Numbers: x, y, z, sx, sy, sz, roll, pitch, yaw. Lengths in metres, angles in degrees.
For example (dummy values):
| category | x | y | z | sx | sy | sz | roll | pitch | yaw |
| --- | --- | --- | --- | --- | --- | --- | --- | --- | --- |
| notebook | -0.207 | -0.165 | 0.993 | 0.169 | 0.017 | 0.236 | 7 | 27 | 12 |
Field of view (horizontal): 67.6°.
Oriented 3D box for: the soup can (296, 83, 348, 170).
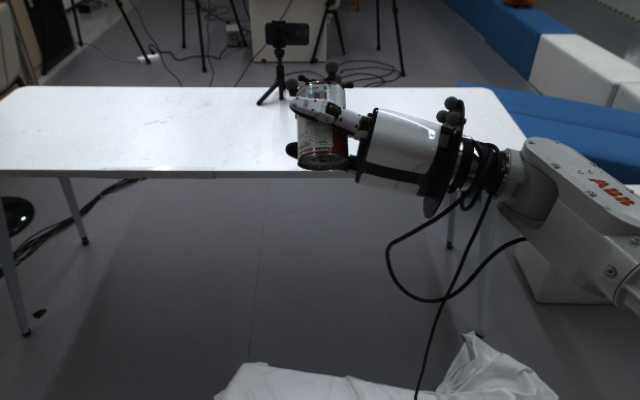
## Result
| category | x | y | z | sx | sy | sz | roll | pitch | yaw |
| --- | --- | --- | --- | --- | --- | --- | --- | --- | --- |
| soup can | 0.002 | -0.098 | 0.640 | 0.067 | 0.067 | 0.101 | -1 | 76 | -4 |
